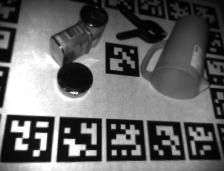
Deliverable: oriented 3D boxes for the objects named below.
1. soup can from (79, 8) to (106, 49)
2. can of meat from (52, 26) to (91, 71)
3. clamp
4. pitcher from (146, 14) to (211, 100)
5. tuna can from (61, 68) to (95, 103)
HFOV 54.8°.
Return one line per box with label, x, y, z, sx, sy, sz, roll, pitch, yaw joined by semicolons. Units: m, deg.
soup can;-0.059;-0.150;0.585;0.068;0.102;0.067;4;71;-12
can of meat;-0.100;-0.089;0.545;0.084;0.101;0.057;-35;84;-21
clamp;0.080;-0.182;0.686;0.166;0.036;0.121;6;65;-19
pitcher;0.208;-0.093;0.627;0.187;0.134;0.242;14;58;12
tuna can;-0.089;0.000;0.557;0.086;0.033;0.085;6;71;-15
